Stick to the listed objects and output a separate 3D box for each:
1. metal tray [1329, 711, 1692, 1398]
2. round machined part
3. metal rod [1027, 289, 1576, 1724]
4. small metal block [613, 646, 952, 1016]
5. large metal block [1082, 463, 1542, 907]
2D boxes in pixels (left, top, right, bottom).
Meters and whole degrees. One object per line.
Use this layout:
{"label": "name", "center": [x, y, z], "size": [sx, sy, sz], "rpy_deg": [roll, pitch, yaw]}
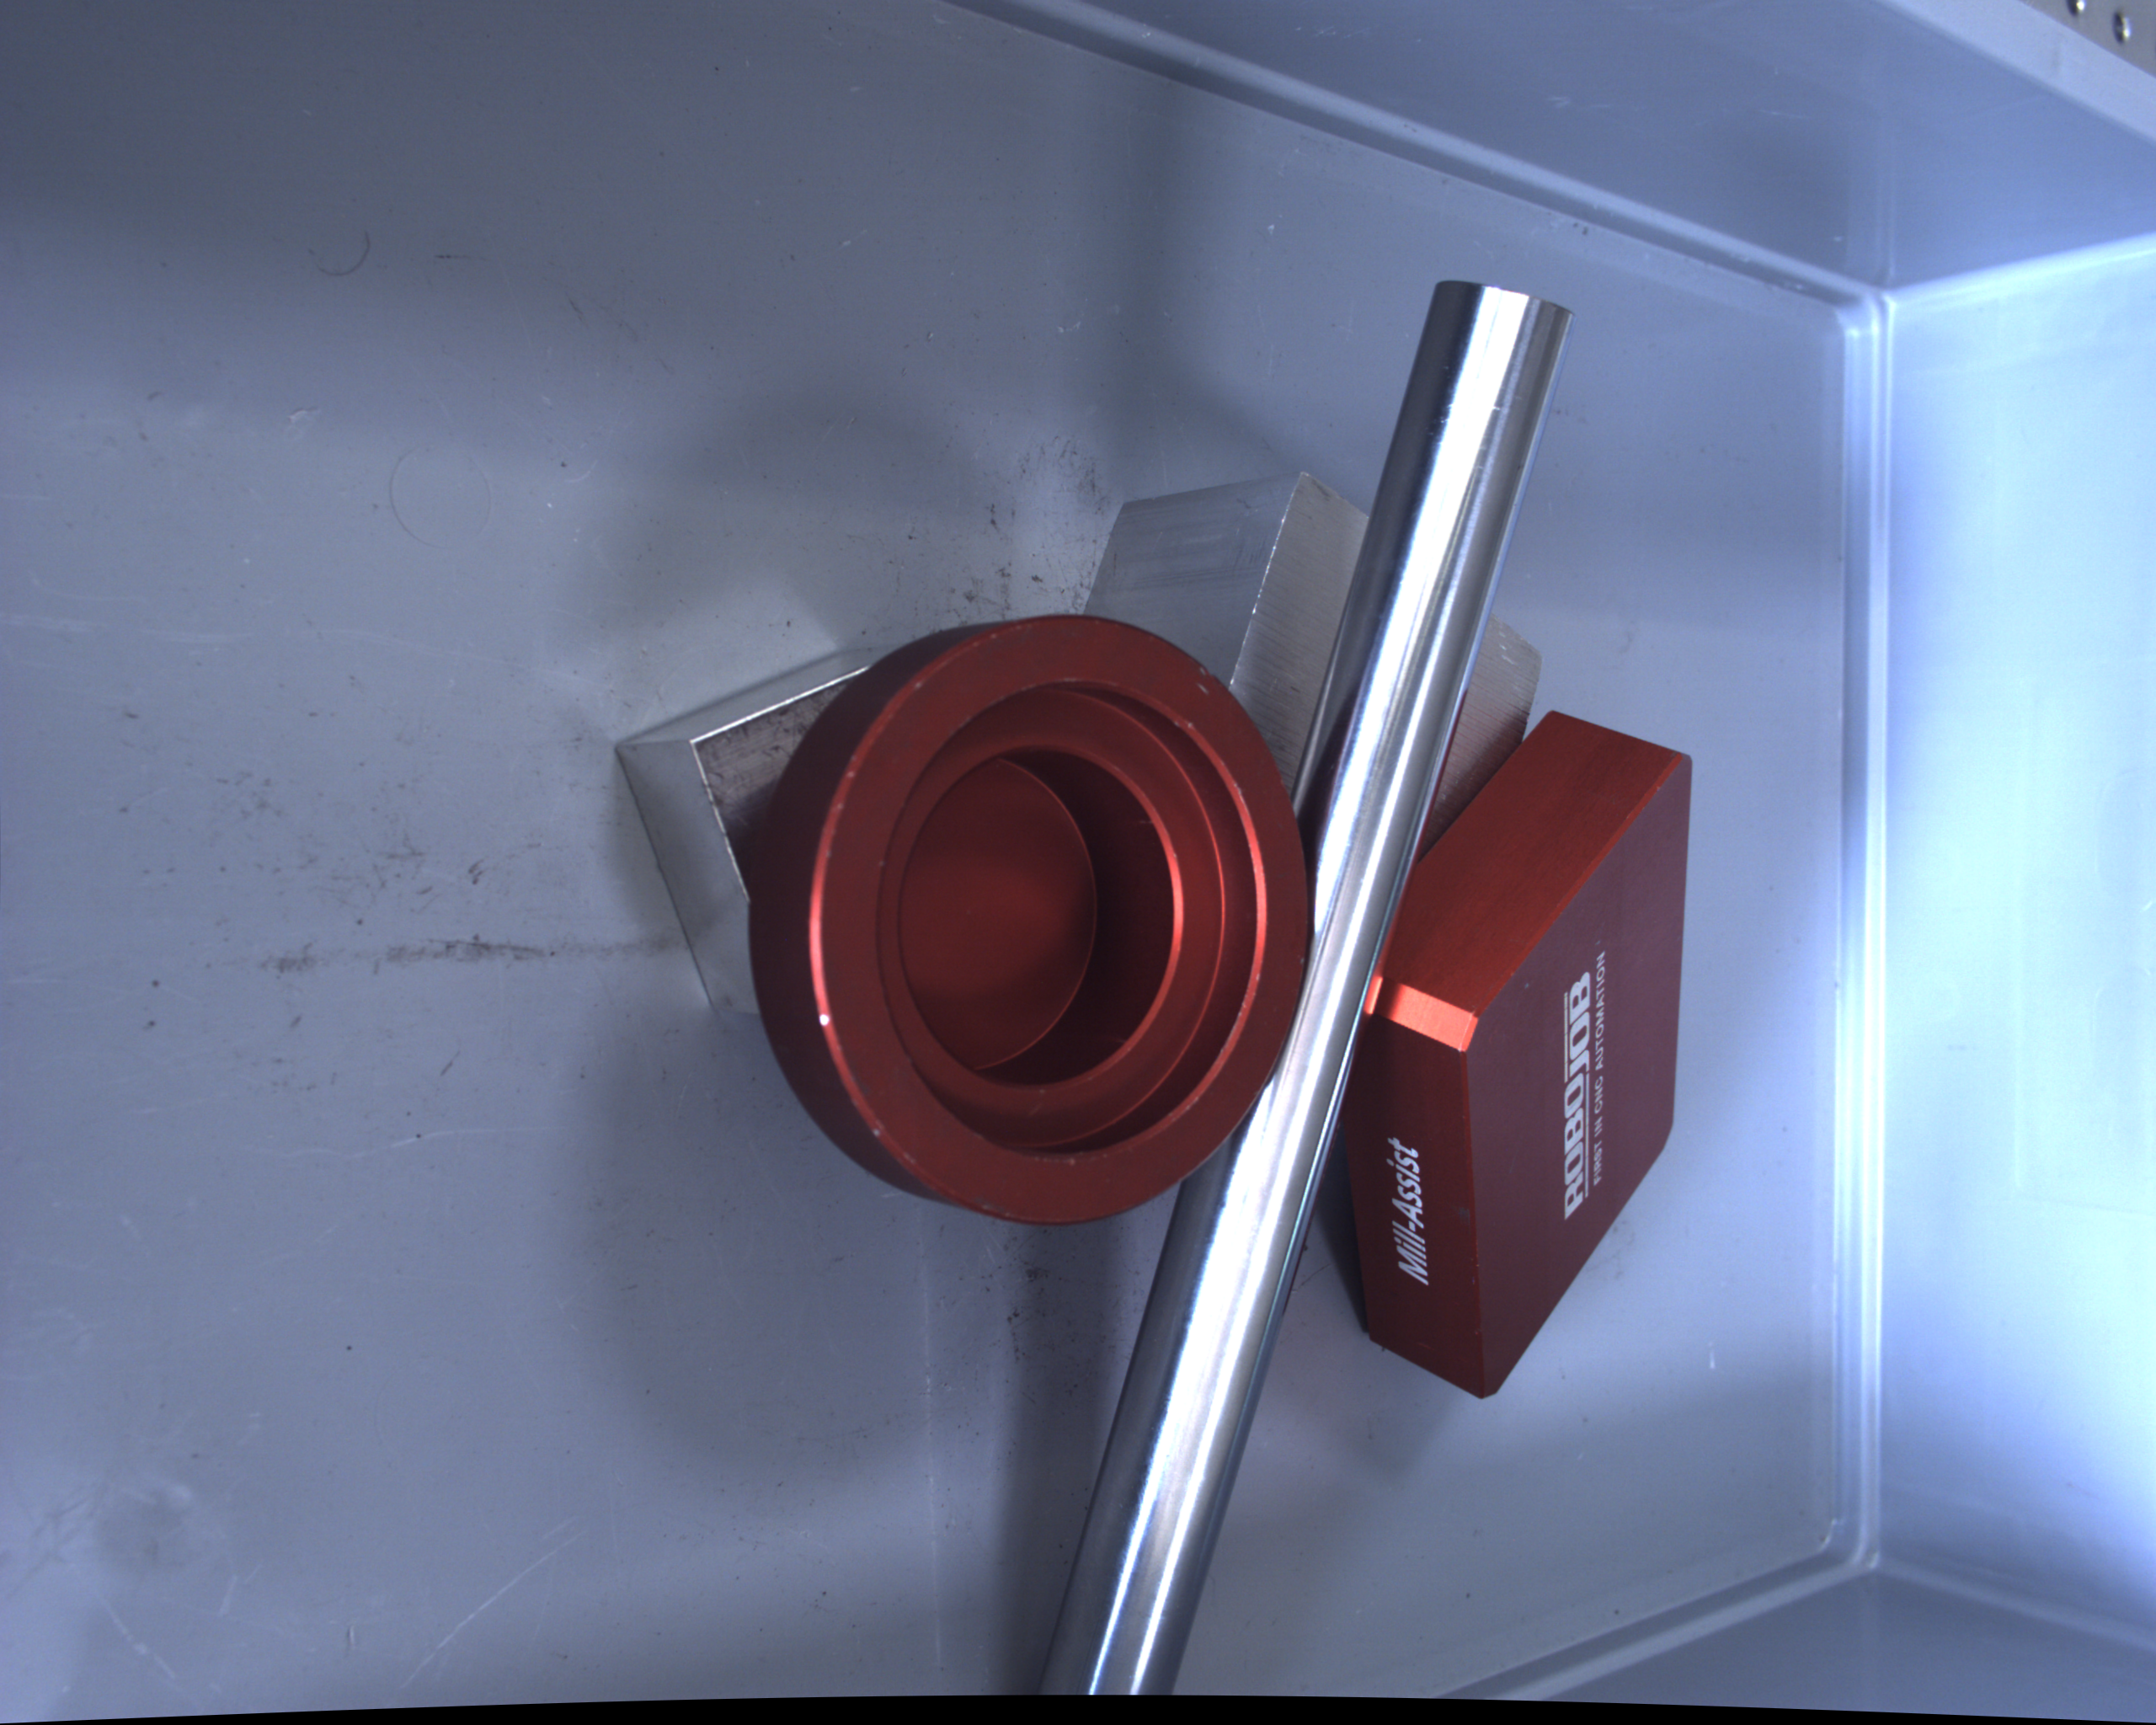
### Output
{"label": "metal tray", "center": [0.095, 0.044, 0.449], "size": [0.090, 0.030, 0.129], "rpy_deg": [-46, 142, -30]}
{"label": "round machined part", "center": [-0.011, 0.009, 0.349], "size": [0.099, 0.042, 0.097], "rpy_deg": [-1, 91, -37]}
{"label": "metal rod", "center": [0.035, 0.047, 0.383], "size": [0.025, 0.025, 0.298], "rpy_deg": [8, 101, -40]}
{"label": "small metal block", "center": [-0.046, -0.006, 0.367], "size": [0.050, 0.025, 0.050], "rpy_deg": [-28, 108, -37]}
{"label": "large metal block", "center": [0.041, -0.023, 0.424], "size": [0.080, 0.050, 0.080], "rpy_deg": [29, 72, -37]}
